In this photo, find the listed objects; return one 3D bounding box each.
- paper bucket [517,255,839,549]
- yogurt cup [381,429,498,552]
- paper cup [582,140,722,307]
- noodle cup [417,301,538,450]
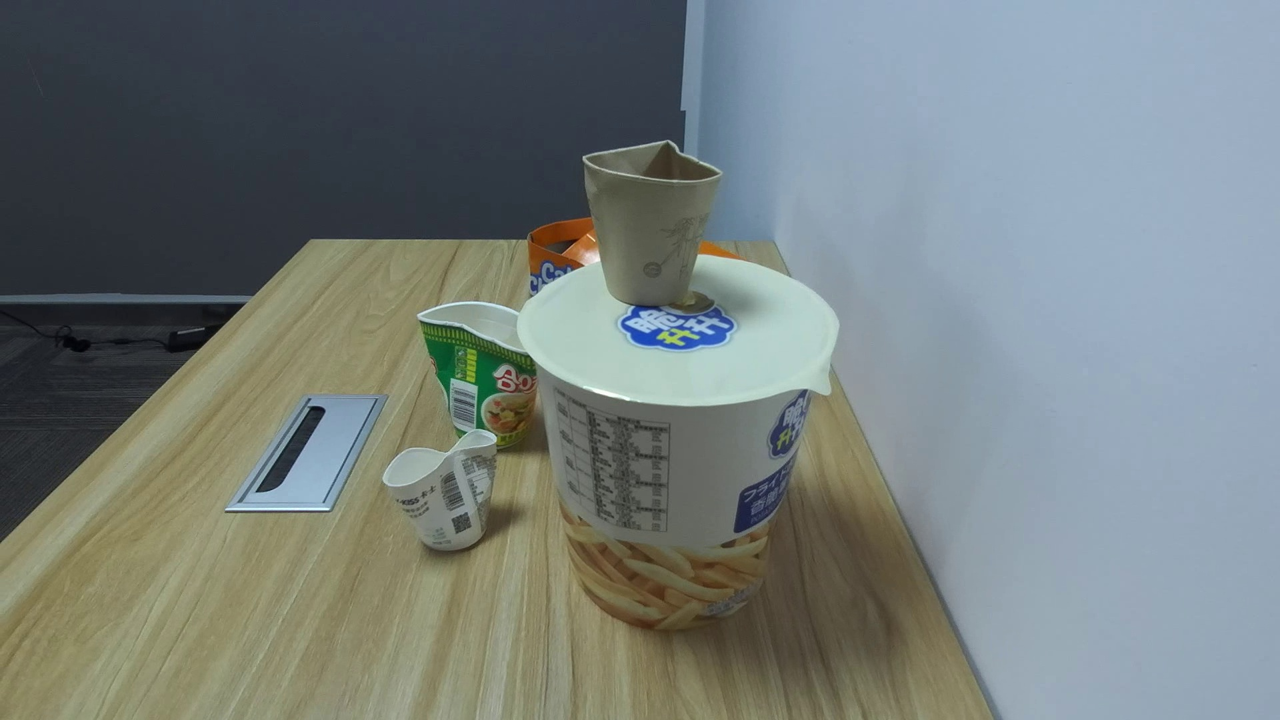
[{"bbox_3d":[0.022,0.055,0.471,0.198,0.195,0.198,0,31,0],"label":"paper bucket"},{"bbox_3d":[-0.141,0.096,0.518,0.053,0.071,0.075,15,35,19],"label":"yogurt cup"},{"bbox_3d":[0.005,-0.080,0.429,0.066,0.084,0.071,-17,39,-26],"label":"paper cup"},{"bbox_3d":[-0.132,0.017,0.614,0.070,0.111,0.114,-23,38,-35],"label":"noodle cup"}]
